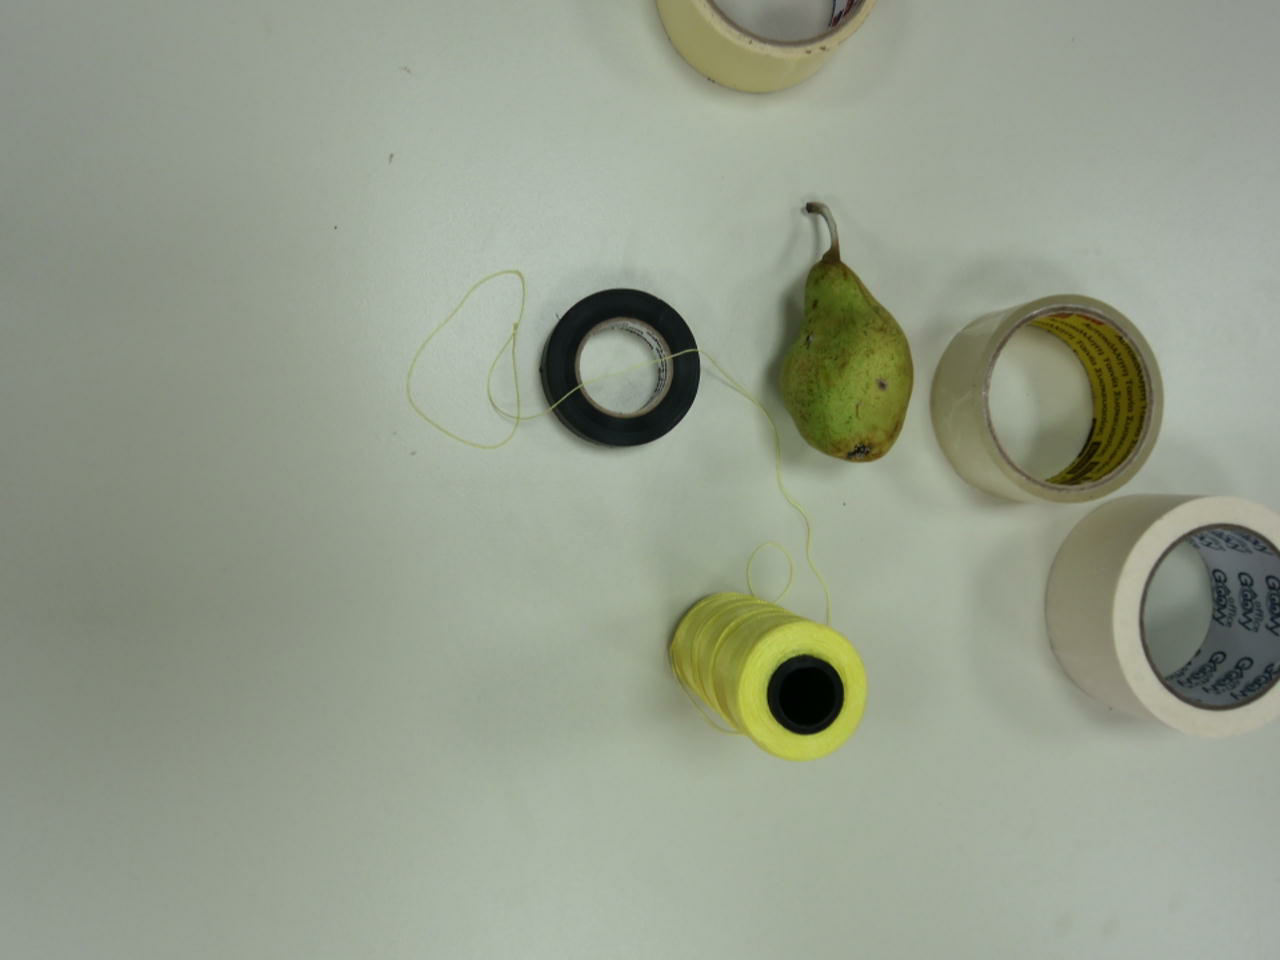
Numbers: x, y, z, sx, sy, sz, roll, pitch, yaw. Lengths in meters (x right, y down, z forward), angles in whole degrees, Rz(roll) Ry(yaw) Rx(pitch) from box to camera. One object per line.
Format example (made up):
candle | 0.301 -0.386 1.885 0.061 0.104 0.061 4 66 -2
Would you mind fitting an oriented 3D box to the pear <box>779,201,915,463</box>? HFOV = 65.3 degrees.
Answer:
pear | 0.092 -0.063 0.424 0.056 0.056 0.111 15 87 -11
